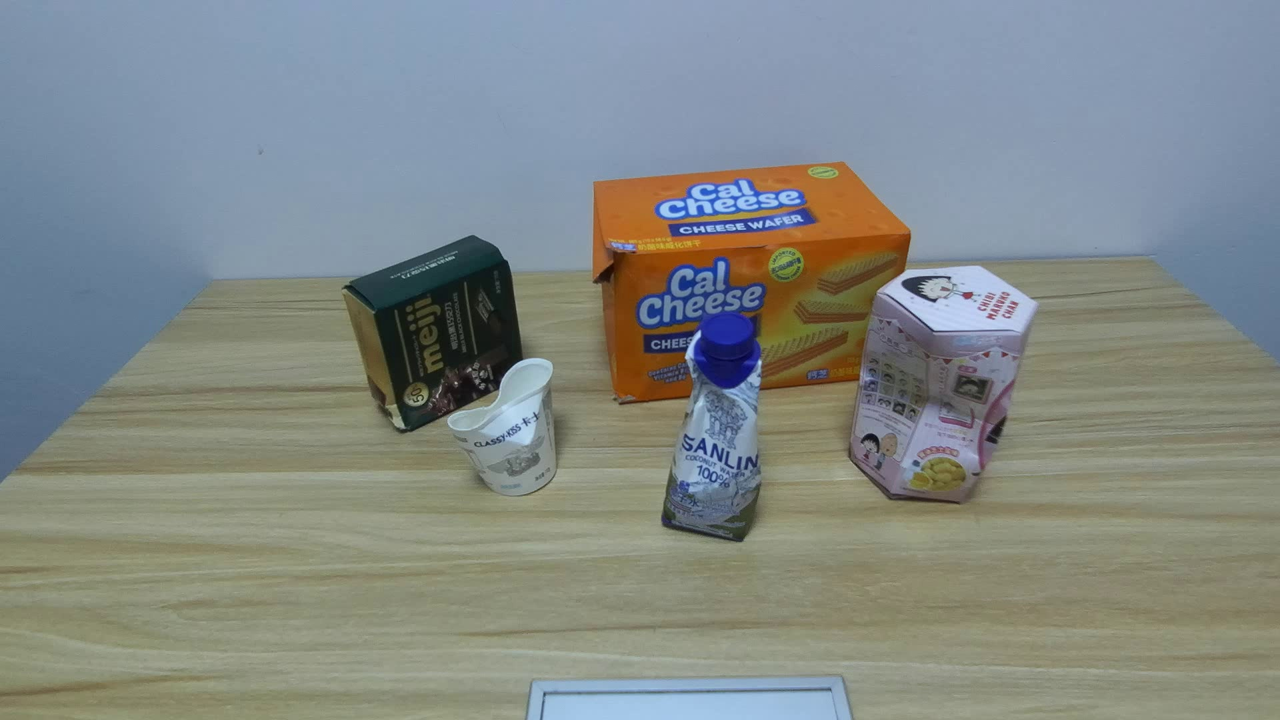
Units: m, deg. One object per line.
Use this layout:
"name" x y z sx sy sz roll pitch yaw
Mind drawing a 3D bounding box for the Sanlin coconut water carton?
"Sanlin coconut water carton" 0.052 0.035 0.421 0.056 0.144 0.068 11 29 8

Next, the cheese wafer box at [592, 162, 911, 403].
"cheese wafer box" 0.076 -0.070 0.573 0.227 0.137 0.149 -5 36 -5

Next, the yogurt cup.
"yogurt cup" -0.087 0.047 0.474 0.053 0.071 0.075 3 36 10

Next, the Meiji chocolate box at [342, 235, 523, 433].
"Meiji chocolate box" -0.153 -0.022 0.542 0.123 0.116 0.058 -26 42 -31
